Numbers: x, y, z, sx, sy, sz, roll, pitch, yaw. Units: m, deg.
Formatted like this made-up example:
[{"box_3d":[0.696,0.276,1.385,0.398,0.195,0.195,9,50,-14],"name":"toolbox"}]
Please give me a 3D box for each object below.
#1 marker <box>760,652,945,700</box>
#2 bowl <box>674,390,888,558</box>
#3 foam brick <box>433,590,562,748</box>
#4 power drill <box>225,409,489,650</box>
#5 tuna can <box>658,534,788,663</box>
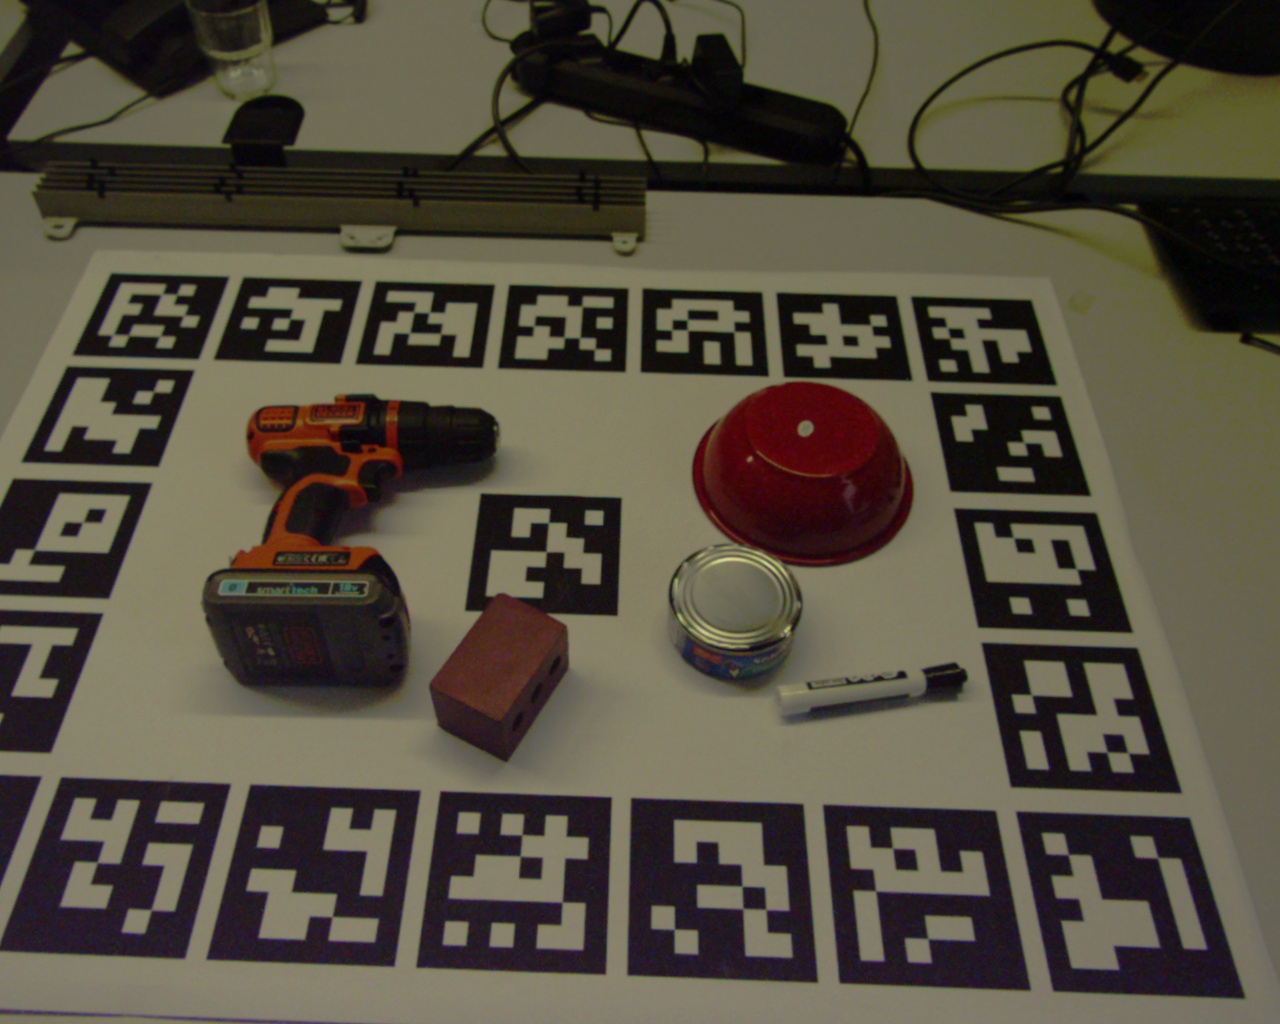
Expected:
[{"box_3d":[0.139,0.106,0.743,0.121,0.019,0.020,-6,54,-6],"name":"marker"},{"box_3d":[0.107,-0.042,0.851,0.162,0.055,0.162,-2,45,1],"name":"bowl"},{"box_3d":[-0.090,0.100,0.732,0.052,0.052,0.078,22,56,13],"name":"foam brick"},{"box_3d":[-0.204,0.005,0.799,0.184,0.057,0.188,3,49,-4],"name":"power drill"},{"box_3d":[0.055,0.059,0.771,0.085,0.033,0.086,2,52,-3],"name":"tuna can"}]
